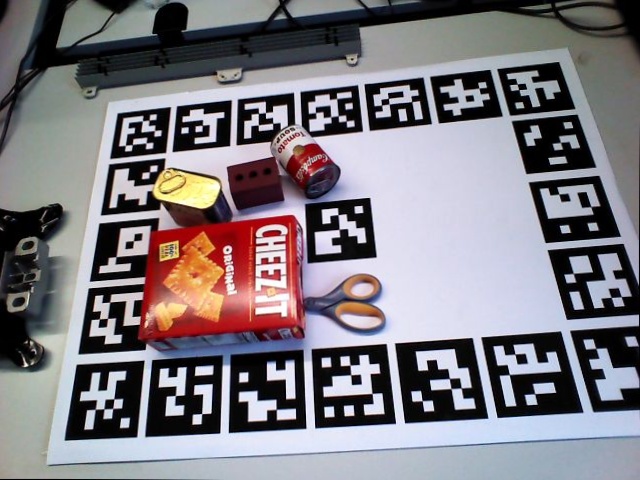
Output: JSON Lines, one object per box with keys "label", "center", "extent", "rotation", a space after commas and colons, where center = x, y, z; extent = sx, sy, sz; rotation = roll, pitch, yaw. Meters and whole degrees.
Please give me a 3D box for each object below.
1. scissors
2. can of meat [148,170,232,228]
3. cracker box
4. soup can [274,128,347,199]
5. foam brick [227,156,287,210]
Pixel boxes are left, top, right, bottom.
{"label": "scissors", "center": [-0.013, 0.095, 0.710], "extent": [0.203, 0.016, 0.087], "rotation": [-10, 65, 4]}
{"label": "can of meat", "center": [-0.191, -0.057, 0.779], "extent": [0.102, 0.084, 0.057], "rotation": [7, 67, 11]}
{"label": "cracker box", "center": [-0.133, 0.062, 0.709], "extent": [0.214, 0.072, 0.163], "rotation": [-12, 64, 7]}
{"label": "soup can", "center": [-0.016, -0.120, 0.802], "extent": [0.068, 0.068, 0.102], "rotation": [-40, 61, -10]}
{"label": "foam brick", "center": [-0.096, -0.087, 0.800], "extent": [0.078, 0.051, 0.052], "rotation": [-15, 65, 1]}
